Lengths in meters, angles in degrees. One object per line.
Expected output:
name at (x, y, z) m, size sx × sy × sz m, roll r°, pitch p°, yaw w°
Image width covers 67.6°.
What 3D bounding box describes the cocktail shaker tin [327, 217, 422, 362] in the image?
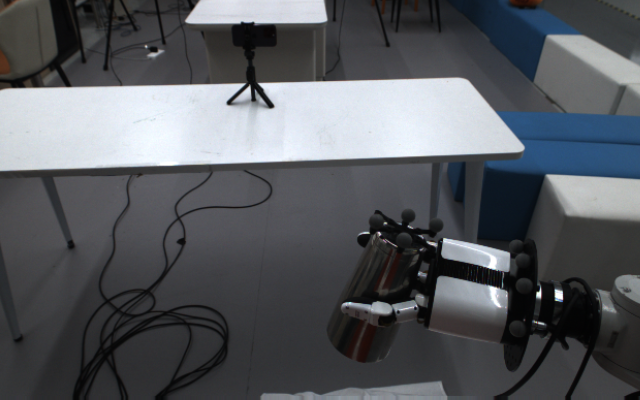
cocktail shaker tin at (0.077, 0.112, 0.617) m, size 0.093 × 0.170 × 0.093 m, roll 12°, pitch 29°, yaw -7°
